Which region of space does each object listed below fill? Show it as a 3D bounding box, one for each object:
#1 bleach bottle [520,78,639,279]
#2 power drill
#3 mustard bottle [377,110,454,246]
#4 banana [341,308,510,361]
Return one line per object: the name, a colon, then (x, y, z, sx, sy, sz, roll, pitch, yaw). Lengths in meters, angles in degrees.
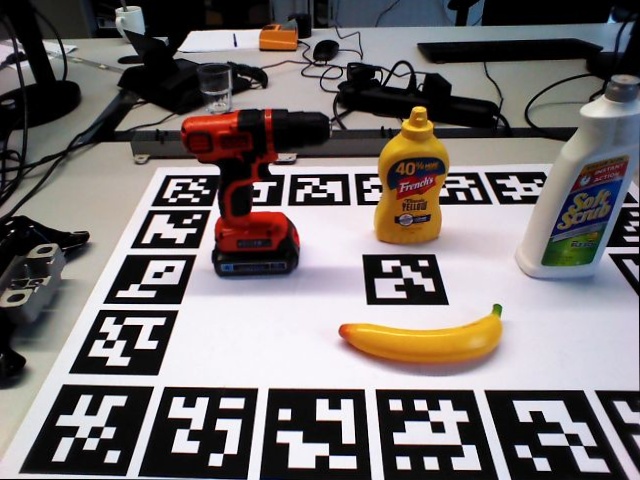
bleach bottle: (0.321, -0.066, 0.618, 0.103, 0.251, 0.067, 6, 39, 8)
power drill: (-0.059, -0.079, 0.649, 0.185, 0.187, 0.057, -6, 38, 1)
mustard bottle: (0.132, -0.082, 0.696, 0.096, 0.192, 0.058, -3, 38, -5)
banana: (0.123, 0.100, 0.570, 0.198, 0.039, 0.074, -5, 40, 0)
